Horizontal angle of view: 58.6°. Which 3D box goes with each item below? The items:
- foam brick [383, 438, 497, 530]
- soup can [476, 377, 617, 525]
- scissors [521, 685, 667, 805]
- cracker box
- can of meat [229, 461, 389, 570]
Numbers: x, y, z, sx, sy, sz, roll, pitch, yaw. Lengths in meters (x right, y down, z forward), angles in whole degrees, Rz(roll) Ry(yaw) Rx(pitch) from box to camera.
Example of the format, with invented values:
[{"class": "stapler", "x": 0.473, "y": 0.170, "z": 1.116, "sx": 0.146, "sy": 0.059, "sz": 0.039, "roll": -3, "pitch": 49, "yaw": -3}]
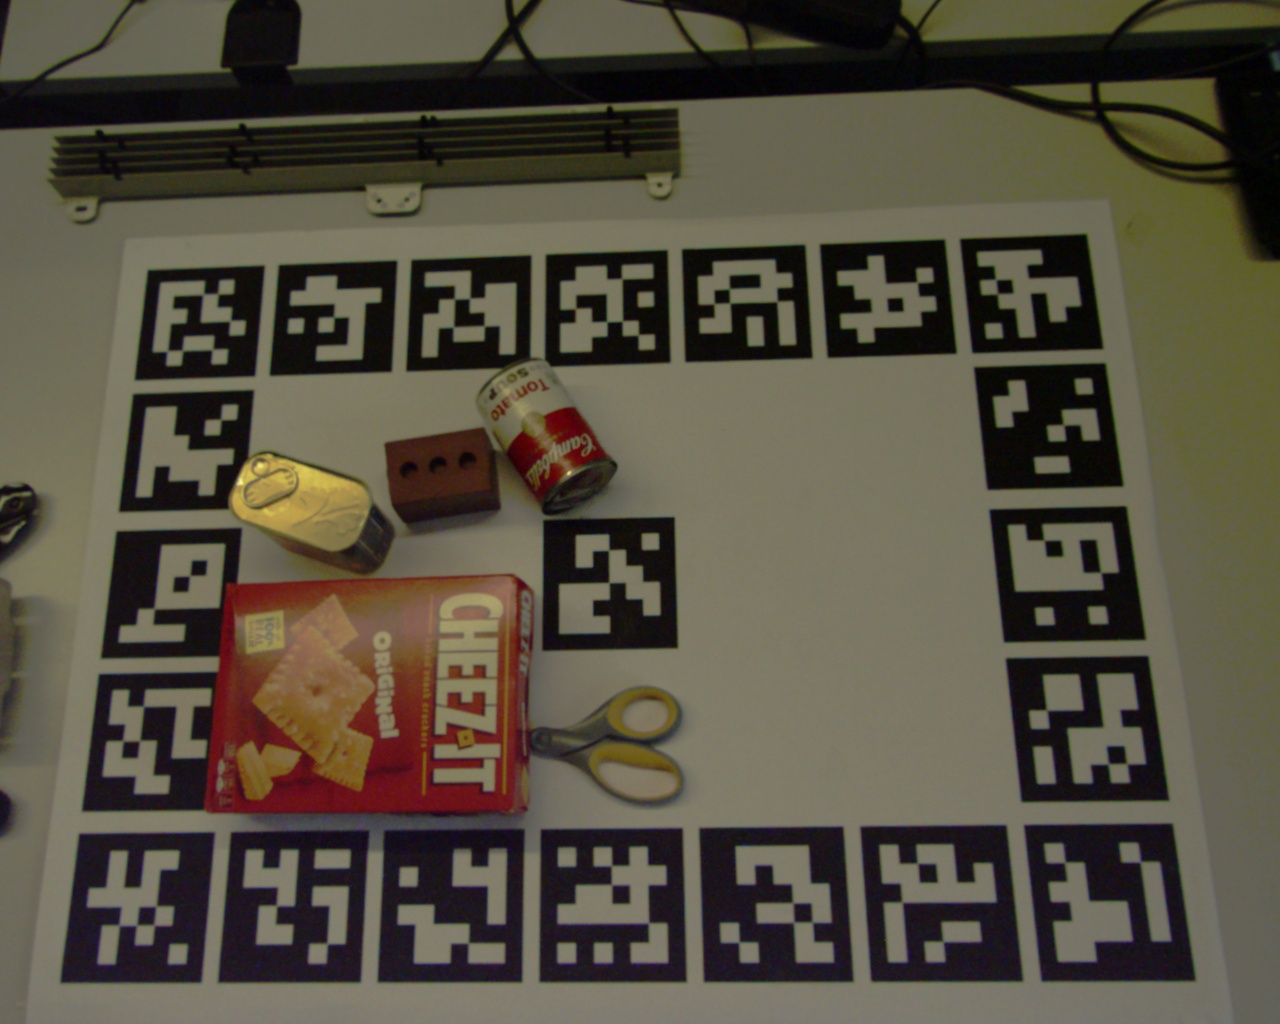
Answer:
[{"class": "foam brick", "x": -0.157, "y": -0.022, "z": 0.905, "sx": 0.078, "sy": 0.051, "sz": 0.053, "roll": -11, "pitch": 76, "yaw": 0}, {"class": "soup can", "x": -0.075, "y": -0.049, "z": 0.906, "sx": 0.068, "sy": 0.067, "sz": 0.103, "roll": -37, "pitch": 71, "yaw": -6}, {"class": "scissors", "x": -0.084, "y": 0.180, "z": 0.853, "sx": 0.203, "sy": 0.016, "sz": 0.088, "roll": -5, "pitch": 76, "yaw": 2}, {"class": "cracker box", "x": -0.200, "y": 0.140, "z": 0.839, "sx": 0.214, "sy": 0.071, "sz": 0.164, "roll": -7, "pitch": 74, "yaw": 6}, {"class": "can of meat", "x": -0.253, "y": 0.006, "z": 0.884, "sx": 0.102, "sy": 0.083, "sz": 0.058, "roll": 13, "pitch": 77, "yaw": 6}]
